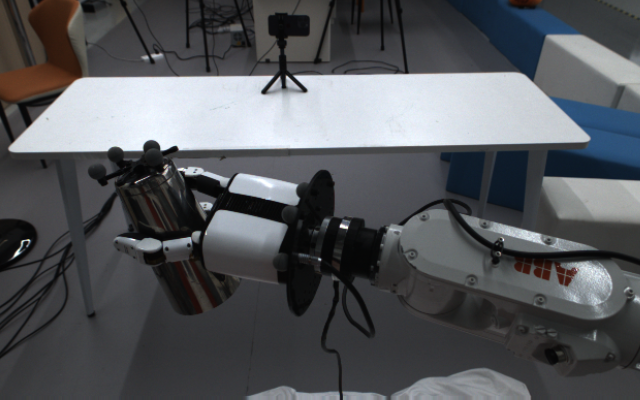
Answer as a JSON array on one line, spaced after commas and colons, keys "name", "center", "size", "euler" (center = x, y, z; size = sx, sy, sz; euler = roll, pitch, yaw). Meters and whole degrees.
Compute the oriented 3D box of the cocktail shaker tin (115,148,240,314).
[{"name": "cocktail shaker tin", "center": [-0.164, 0.040, 0.560], "size": [0.093, 0.170, 0.093], "euler": [-15, 29, 8]}]
